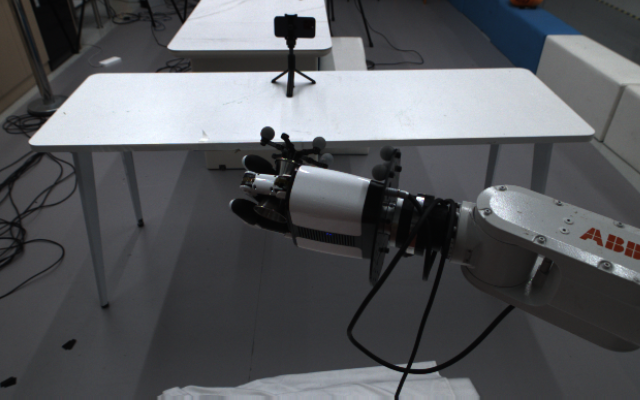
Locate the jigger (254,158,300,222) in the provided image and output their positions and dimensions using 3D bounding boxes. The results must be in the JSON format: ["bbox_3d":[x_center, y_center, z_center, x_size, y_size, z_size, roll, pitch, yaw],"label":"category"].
[{"bbox_3d":[-0.045,-0.012,0.585,0.043,0.043,0.071,13,70,16],"label":"jigger"}]
